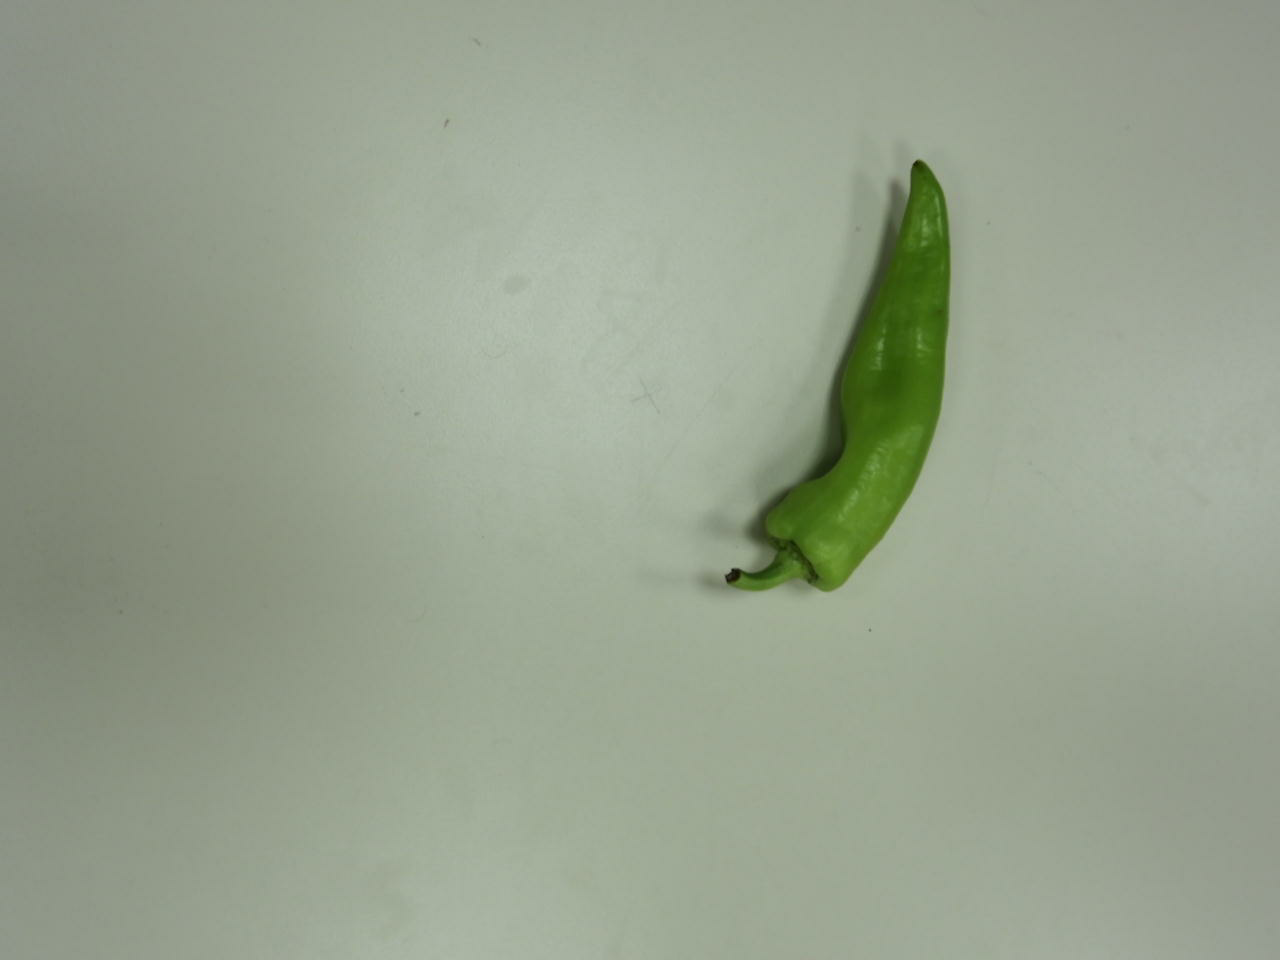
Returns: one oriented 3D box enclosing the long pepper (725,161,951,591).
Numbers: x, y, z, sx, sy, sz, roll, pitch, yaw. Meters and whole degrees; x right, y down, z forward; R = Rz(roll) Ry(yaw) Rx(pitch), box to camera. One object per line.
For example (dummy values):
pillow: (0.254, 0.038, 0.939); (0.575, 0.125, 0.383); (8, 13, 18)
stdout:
long pepper: (0.104, -0.034, 0.438); (0.065, 0.045, 0.204); (27, 85, -11)
